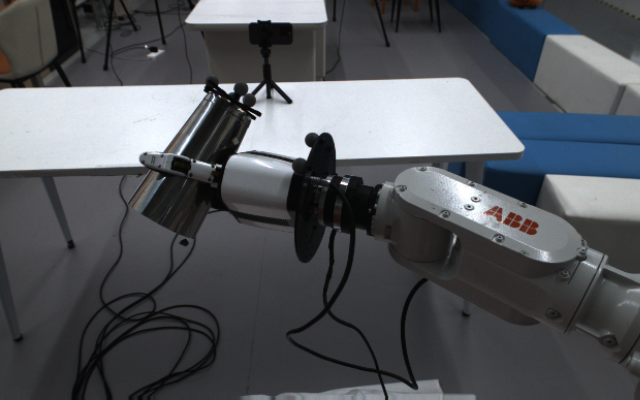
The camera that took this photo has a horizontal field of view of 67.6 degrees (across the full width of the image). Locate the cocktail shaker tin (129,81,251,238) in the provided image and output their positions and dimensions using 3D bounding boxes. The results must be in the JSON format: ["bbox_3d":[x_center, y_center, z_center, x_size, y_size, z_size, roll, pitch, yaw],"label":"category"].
[{"bbox_3d":[-0.159,-0.050,0.617,0.093,0.093,0.170,26,83,31],"label":"cocktail shaker tin"}]
